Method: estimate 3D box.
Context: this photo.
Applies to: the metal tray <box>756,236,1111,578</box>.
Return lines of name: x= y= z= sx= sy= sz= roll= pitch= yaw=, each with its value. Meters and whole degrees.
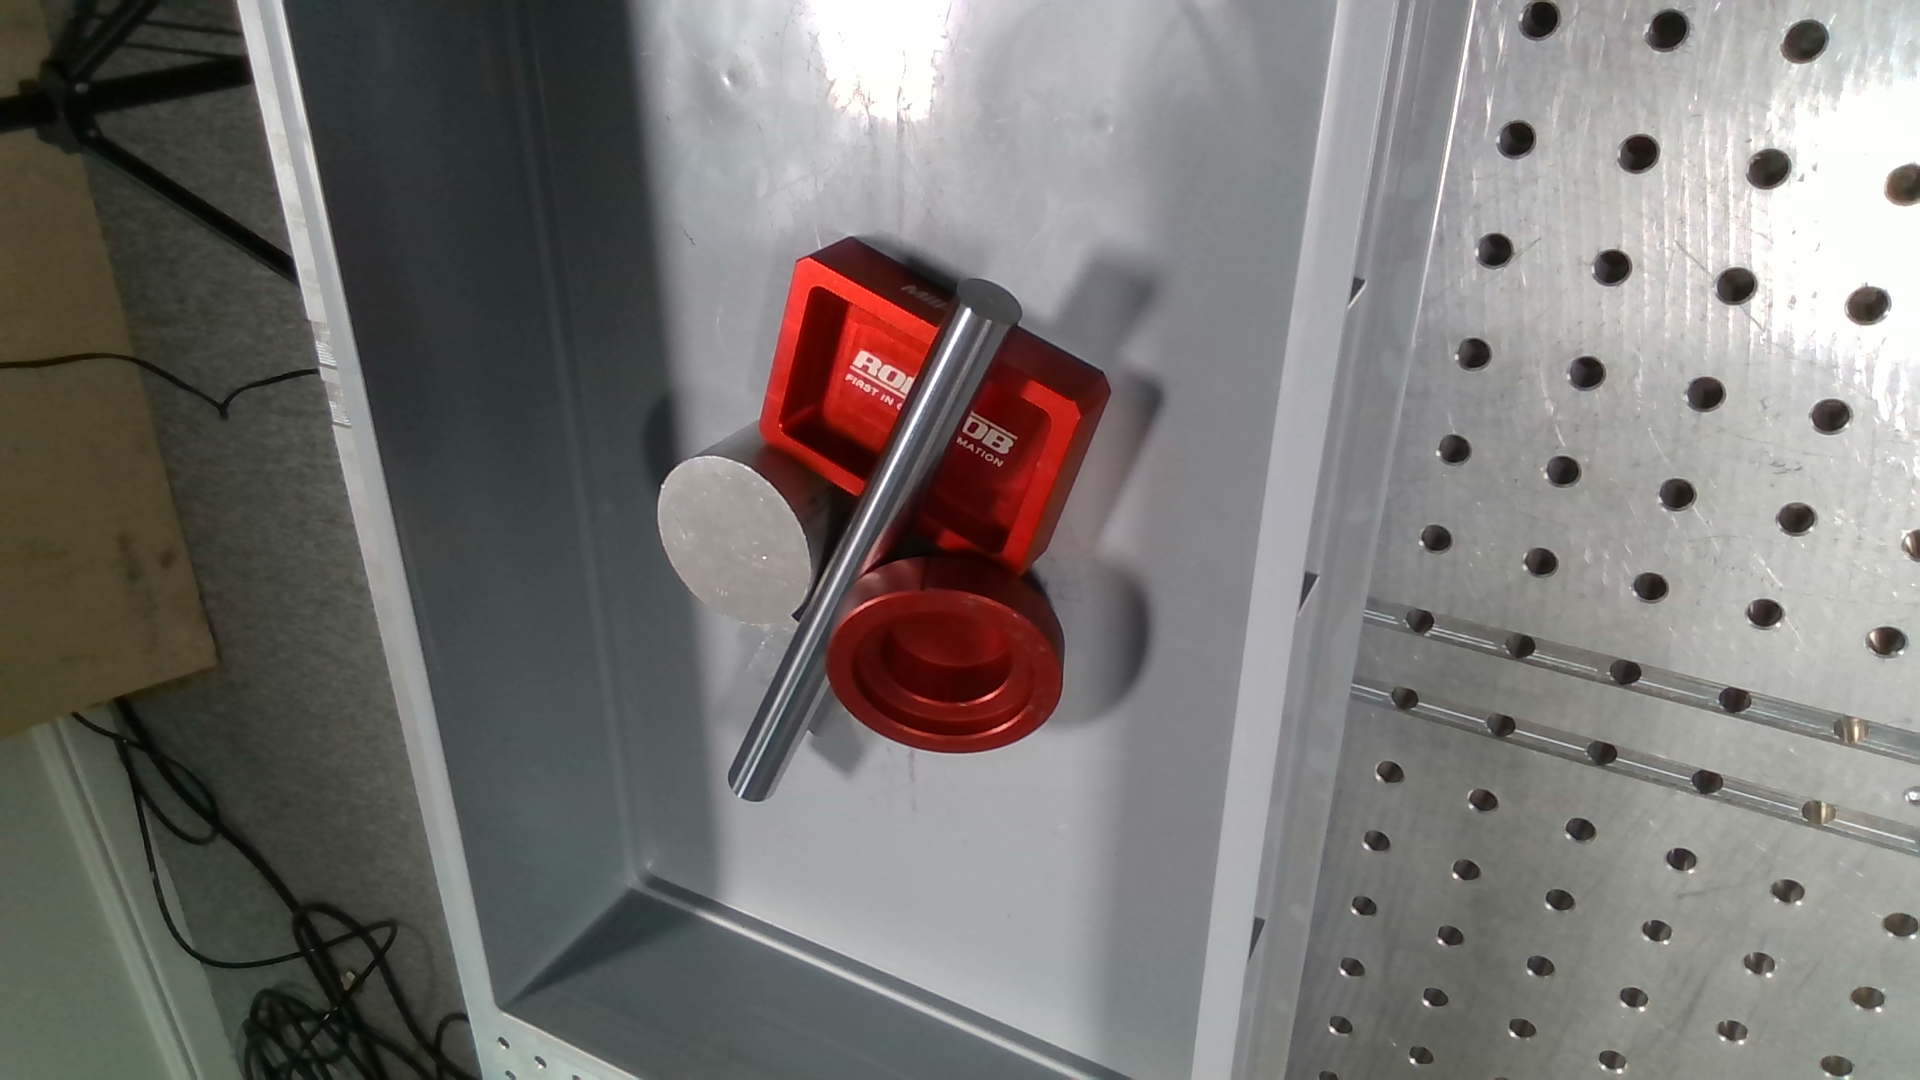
metal tray: x=-0.014 y=-0.053 z=0.554 sx=0.130 sy=0.030 sz=0.090 roll=30 pitch=127 yaw=14

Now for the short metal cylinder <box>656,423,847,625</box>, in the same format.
short metal cylinder: x=-0.086 y=-0.009 z=0.609 sx=0.080 sy=0.050 sz=0.080 roll=14 pitch=122 yaw=25

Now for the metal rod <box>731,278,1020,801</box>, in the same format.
metal rod: x=-0.046 y=0.017 z=0.578 sx=0.025 sy=0.025 sz=0.301 roll=37 pitch=131 yaw=9

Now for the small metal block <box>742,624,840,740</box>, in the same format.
small metal block: x=-0.069 y=0.058 z=0.652 sx=0.050 sy=0.025 sz=0.050 roll=41 pitch=129 yaw=6

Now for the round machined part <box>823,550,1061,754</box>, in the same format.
round machined part: x=-0.006 y=0.043 z=0.578 sx=0.098 sy=0.042 sz=0.098 roll=4 pitch=132 yaw=5
